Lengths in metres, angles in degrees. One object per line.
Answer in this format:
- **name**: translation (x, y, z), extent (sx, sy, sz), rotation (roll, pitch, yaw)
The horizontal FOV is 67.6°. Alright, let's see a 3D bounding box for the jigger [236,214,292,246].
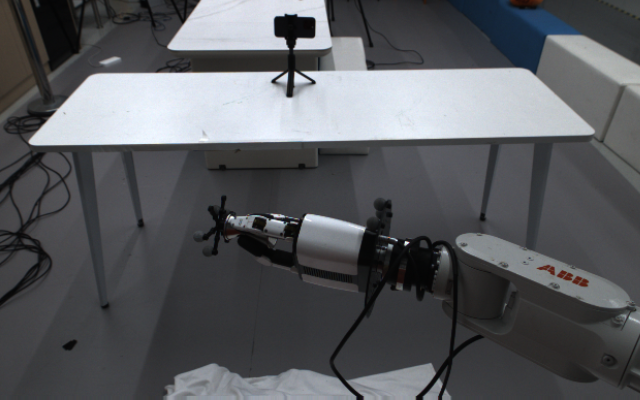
- **jigger**: translation (-0.092, 0.039, 0.690), extent (0.071, 0.043, 0.043), rotation (8, 35, 15)
